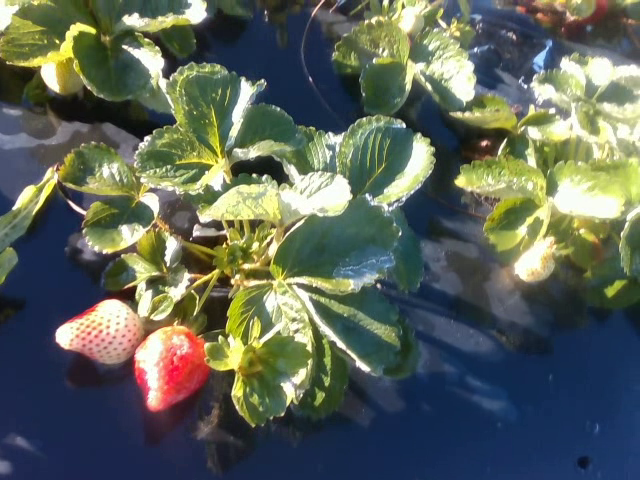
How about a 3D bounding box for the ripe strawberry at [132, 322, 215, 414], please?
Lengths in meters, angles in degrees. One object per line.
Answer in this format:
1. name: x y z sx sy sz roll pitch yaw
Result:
1. ripe strawberry: -0.071 0.063 0.284 0.040 0.038 0.056 -12 12 8
